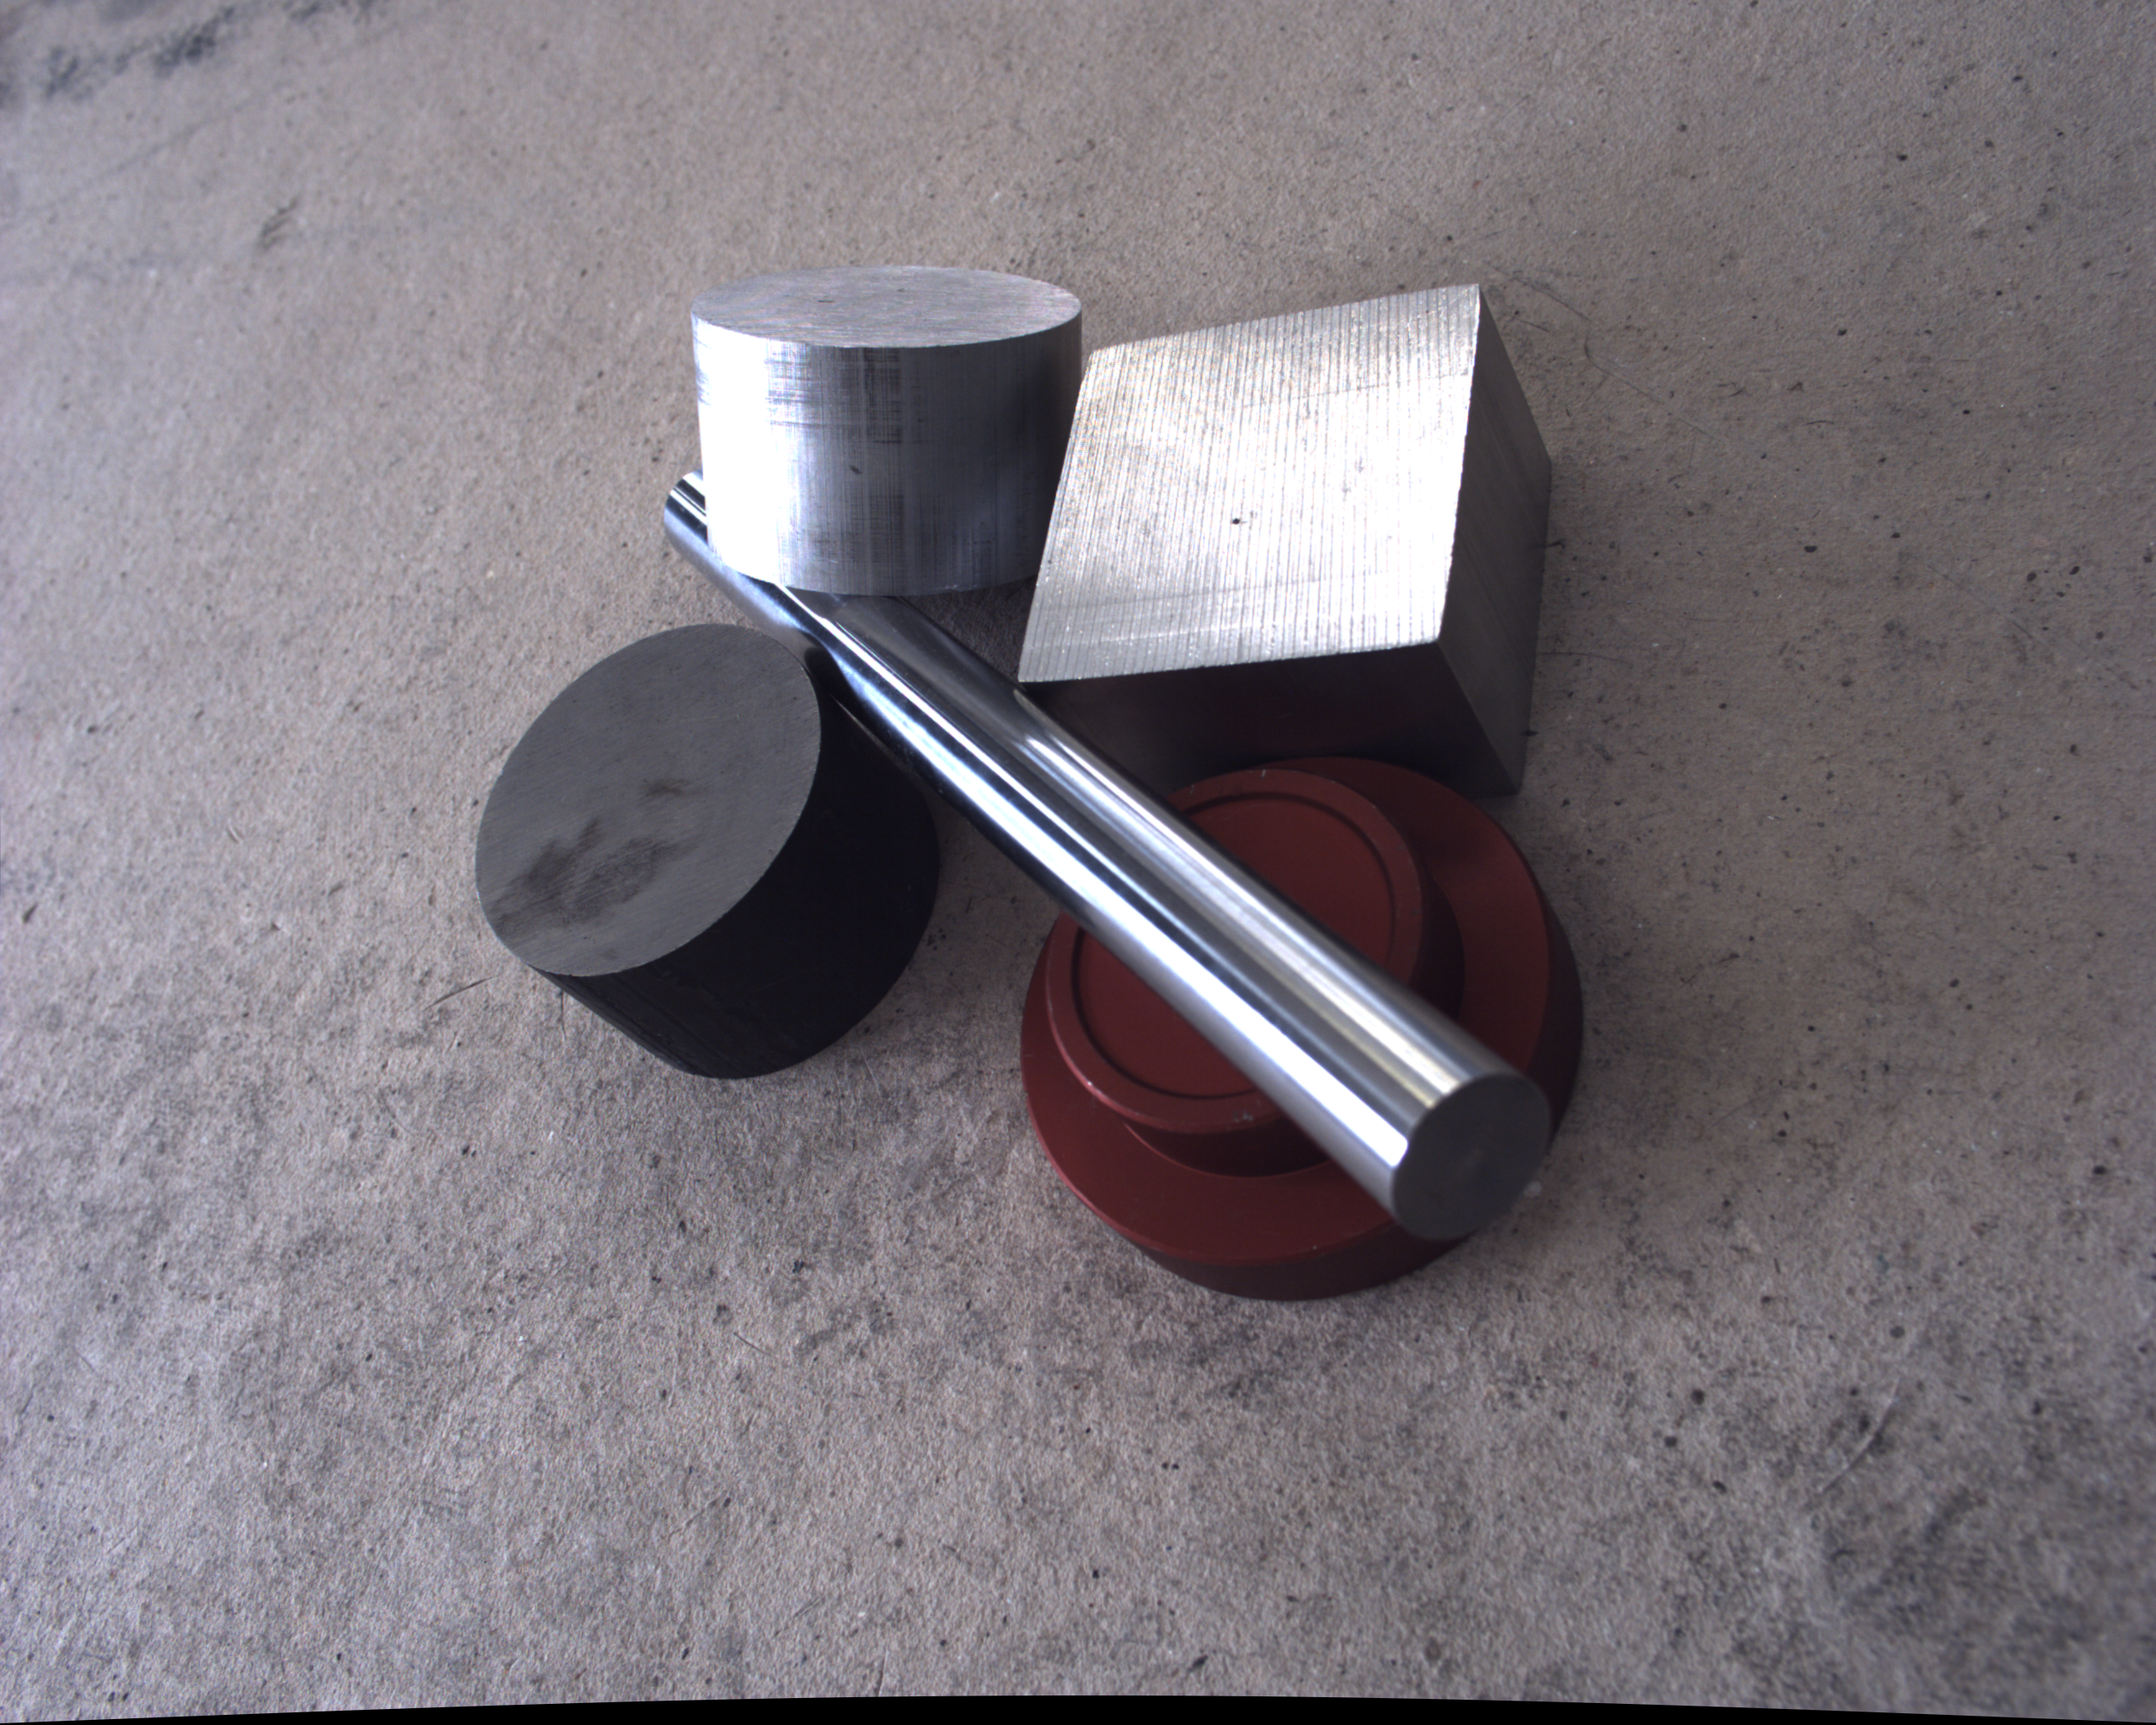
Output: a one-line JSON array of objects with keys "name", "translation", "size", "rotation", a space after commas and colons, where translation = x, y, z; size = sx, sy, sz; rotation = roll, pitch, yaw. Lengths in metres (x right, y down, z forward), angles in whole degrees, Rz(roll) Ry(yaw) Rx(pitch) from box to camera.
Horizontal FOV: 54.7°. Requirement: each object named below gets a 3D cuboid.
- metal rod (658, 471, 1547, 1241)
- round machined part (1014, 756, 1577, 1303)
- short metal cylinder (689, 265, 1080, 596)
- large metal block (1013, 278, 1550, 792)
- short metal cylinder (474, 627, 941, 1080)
[{"name": "metal rod", "translation": [-0.019, -0.023, 0.386], "size": [0.025, 0.025, 0.300], "rotation": [-45, 38, -3]}, {"name": "round machined part", "translation": [0.033, 0.023, 0.362], "size": [0.098, 0.042, 0.098], "rotation": [-13, 56, 21]}, {"name": "short metal cylinder", "translation": [-0.040, -0.094, 0.444], "size": [0.081, 0.050, 0.080], "rotation": [1, 27, 0]}, {"name": "large metal block", "translation": [0.042, -0.058, 0.401], "size": [0.080, 0.050, 0.080], "rotation": [-3, 60, 26]}, {"name": "short metal cylinder", "translation": [-0.076, -0.002, 0.431], "size": [0.080, 0.050, 0.080], "rotation": [-13, 56, 21]}]
